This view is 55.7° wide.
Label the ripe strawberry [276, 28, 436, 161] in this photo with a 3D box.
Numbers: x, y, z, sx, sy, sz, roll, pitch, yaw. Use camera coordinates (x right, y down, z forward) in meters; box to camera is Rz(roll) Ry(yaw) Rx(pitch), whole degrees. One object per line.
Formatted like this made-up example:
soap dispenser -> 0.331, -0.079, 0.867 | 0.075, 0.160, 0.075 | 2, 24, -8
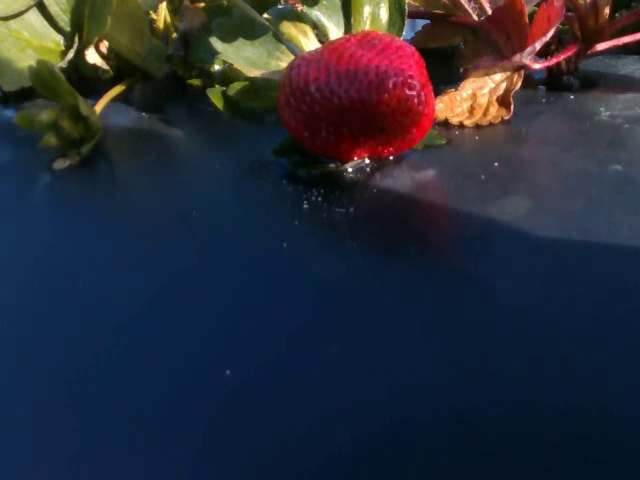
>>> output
ripe strawberry -> 0.009, -0.034, 0.140 | 0.040, 0.041, 0.056 | -38, 18, -4
